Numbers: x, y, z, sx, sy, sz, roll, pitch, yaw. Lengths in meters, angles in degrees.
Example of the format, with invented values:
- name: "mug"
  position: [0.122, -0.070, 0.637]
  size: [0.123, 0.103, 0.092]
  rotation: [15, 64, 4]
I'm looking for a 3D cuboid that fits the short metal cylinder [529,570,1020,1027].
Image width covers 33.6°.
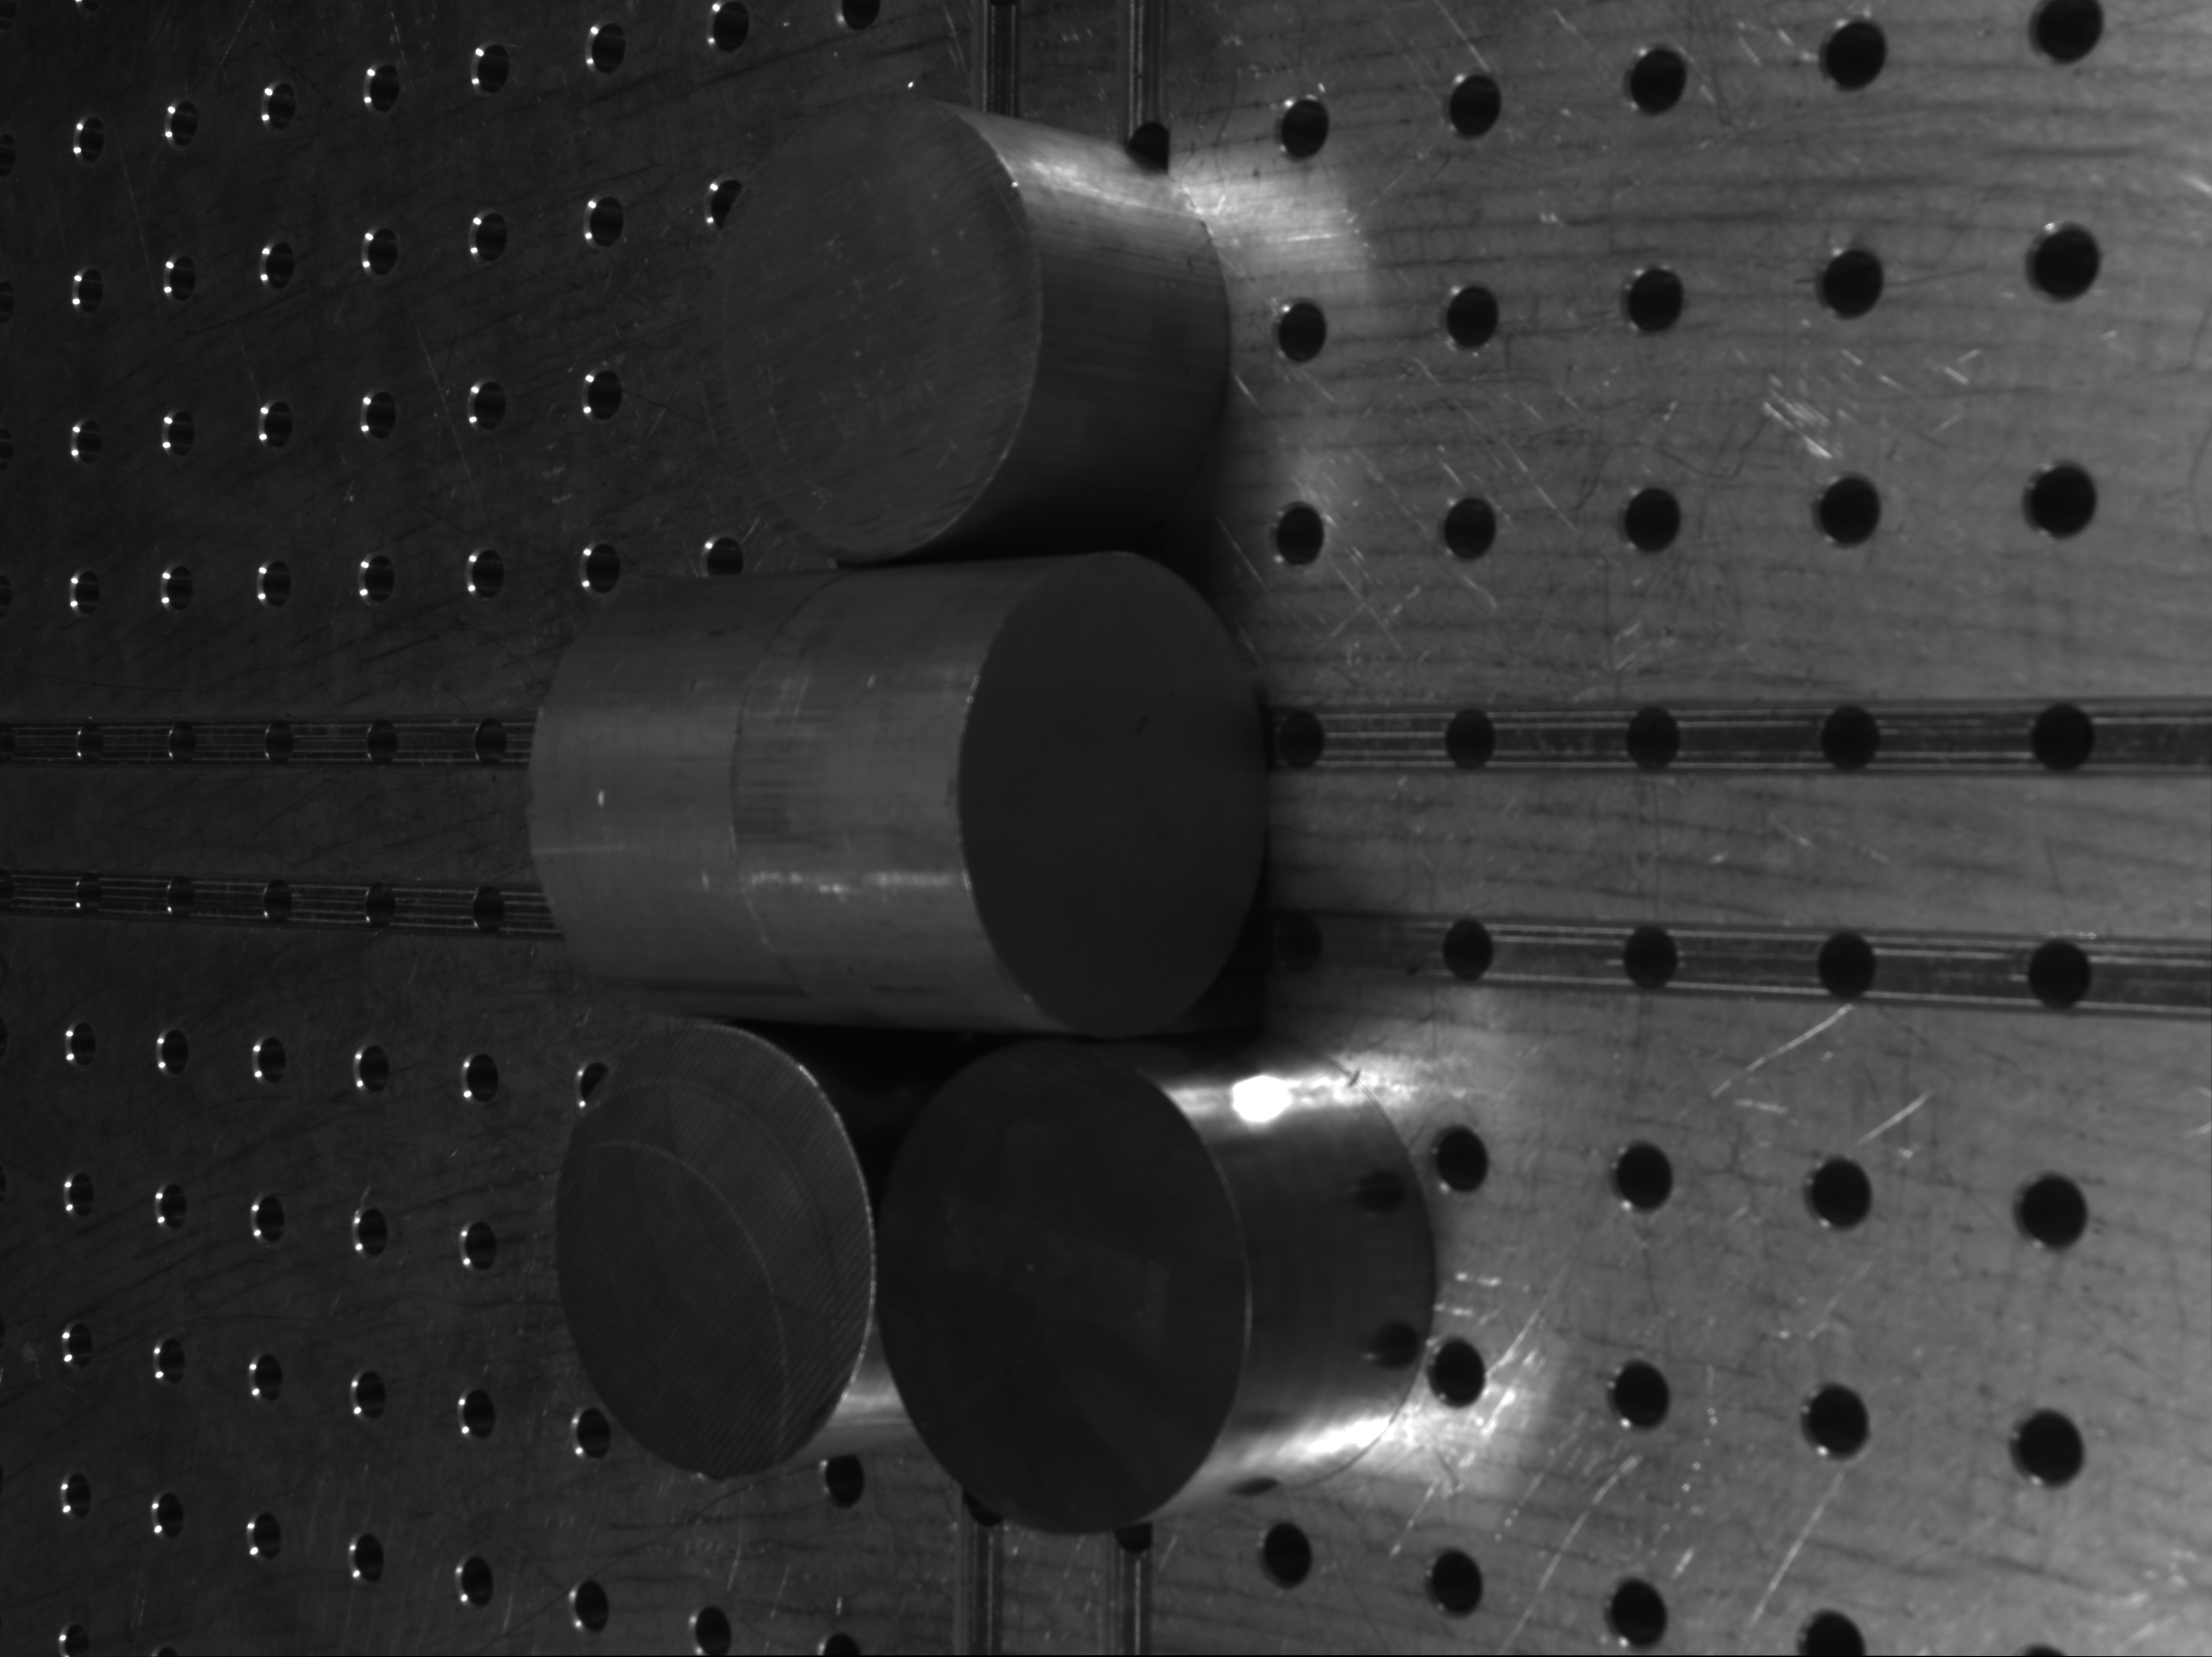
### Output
- name: "short metal cylinder"
  position: [-0.055, -0.005, 0.650]
  size: [0.050, 0.080, 0.080]
  rotation: [0, 90, 39]

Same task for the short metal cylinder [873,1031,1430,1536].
- name: "short metal cylinder"
  position: [0.007, 0.075, 0.615]
  size: [0.080, 0.050, 0.080]
  rotation: [0, 90, 39]

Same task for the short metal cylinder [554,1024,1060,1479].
- name: "short metal cylinder"
  position: [-0.055, 0.075, 0.667]
  size: [0.080, 0.050, 0.080]
  rotation: [0, 90, 39]

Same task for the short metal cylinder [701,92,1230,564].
- name: "short metal cylinder"
  position: [-0.025, -0.085, 0.644]
  size: [0.080, 0.050, 0.080]
  rotation: [0, 90, 39]

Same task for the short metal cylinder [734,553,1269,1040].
- name: "short metal cylinder"
  position: [-0.017, -0.005, 0.618]
  size: [0.050, 0.080, 0.080]
  rotation: [0, 90, 39]
